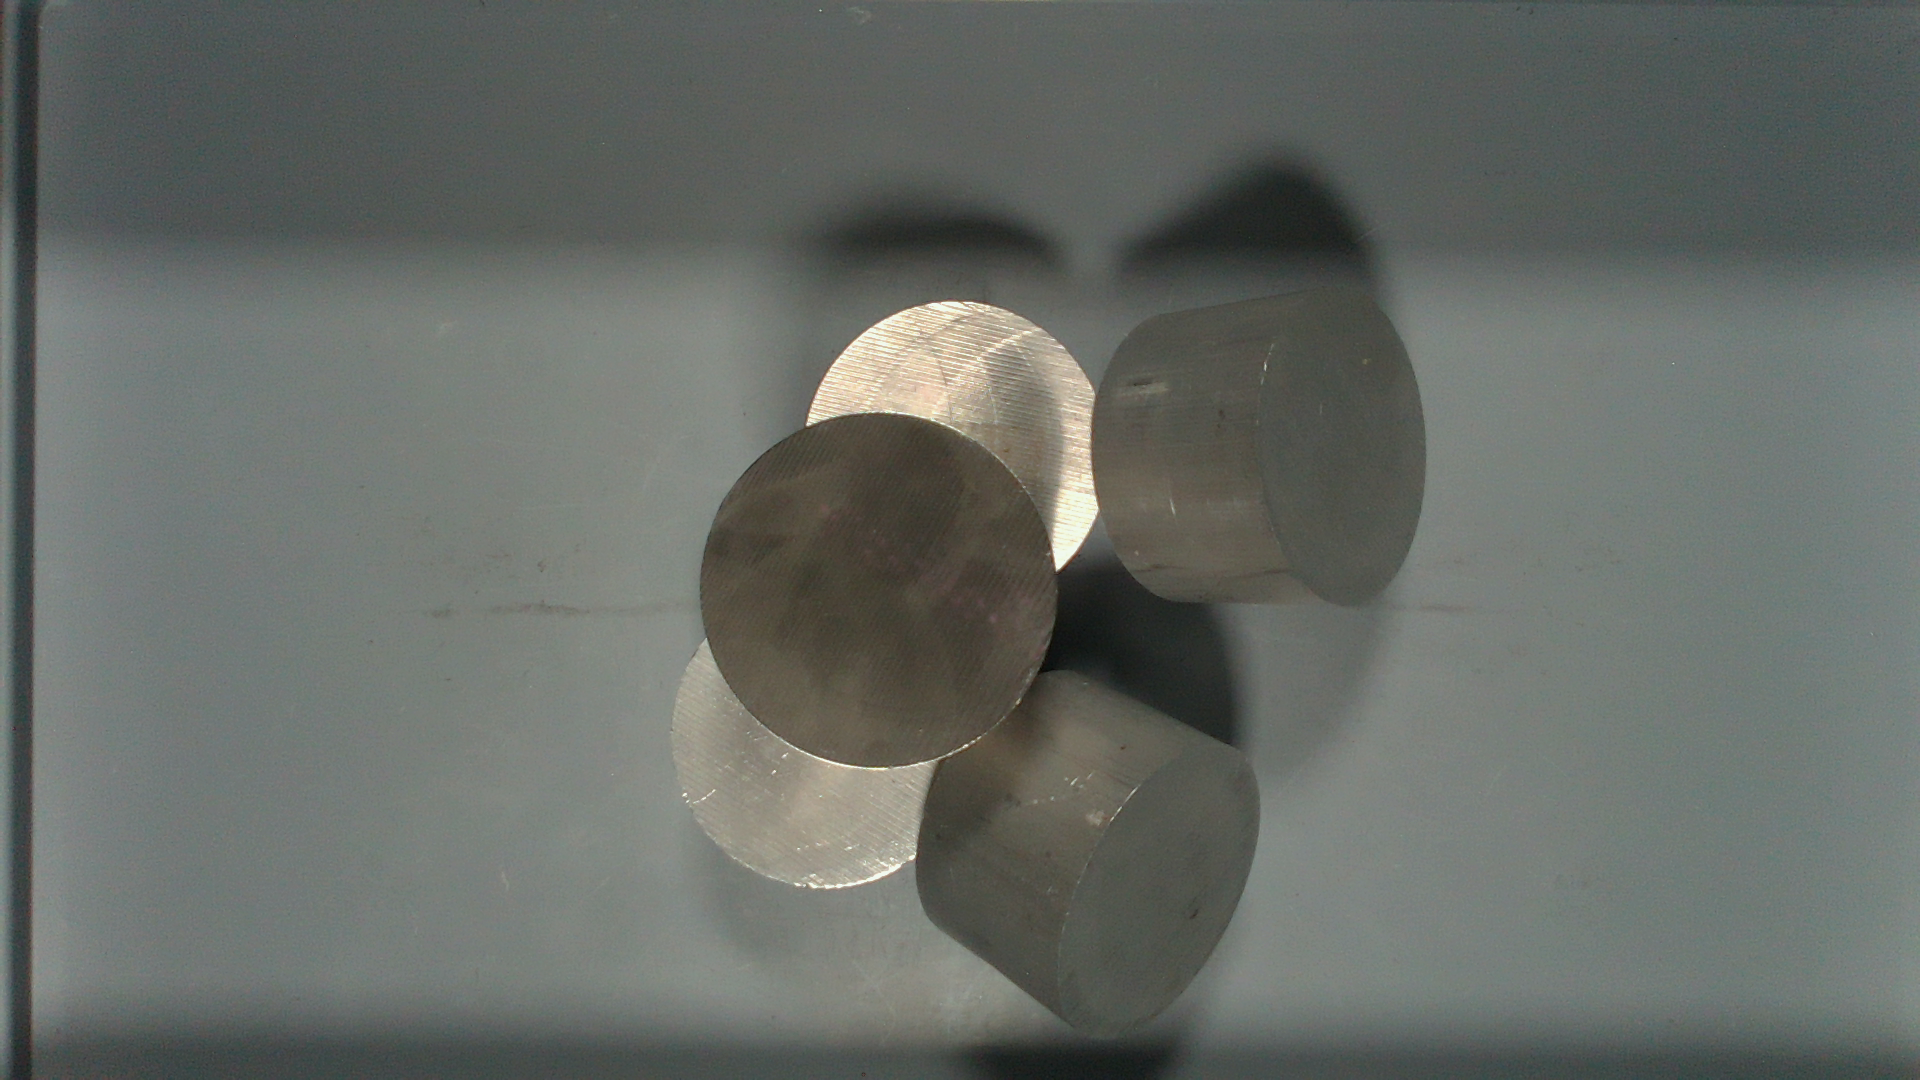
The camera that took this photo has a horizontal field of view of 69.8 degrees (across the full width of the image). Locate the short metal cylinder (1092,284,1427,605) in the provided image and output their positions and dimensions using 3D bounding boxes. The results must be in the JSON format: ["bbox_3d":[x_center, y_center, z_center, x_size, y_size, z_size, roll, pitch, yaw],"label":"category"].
[{"bbox_3d":[0.080,-0.023,0.361,0.080,0.050,0.080,2,88,-44],"label":"short metal cylinder"}]

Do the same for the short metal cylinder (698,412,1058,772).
[{"bbox_3d":[-0.018,0.011,0.330,0.080,0.050,0.080,0,90,0],"label":"short metal cylinder"}]

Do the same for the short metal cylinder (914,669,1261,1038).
[{"bbox_3d":[0.034,0.080,0.360,0.050,0.080,0.080,24,90,41],"label":"short metal cylinder"}]

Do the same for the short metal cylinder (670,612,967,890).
[{"bbox_3d":[-0.035,0.051,0.382,0.080,0.050,0.080,0,90,0],"label":"short metal cylinder"}]

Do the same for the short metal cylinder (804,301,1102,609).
[{"bbox_3d":[-0.001,-0.022,0.381,0.080,0.050,0.080,0,90,0],"label":"short metal cylinder"}]
